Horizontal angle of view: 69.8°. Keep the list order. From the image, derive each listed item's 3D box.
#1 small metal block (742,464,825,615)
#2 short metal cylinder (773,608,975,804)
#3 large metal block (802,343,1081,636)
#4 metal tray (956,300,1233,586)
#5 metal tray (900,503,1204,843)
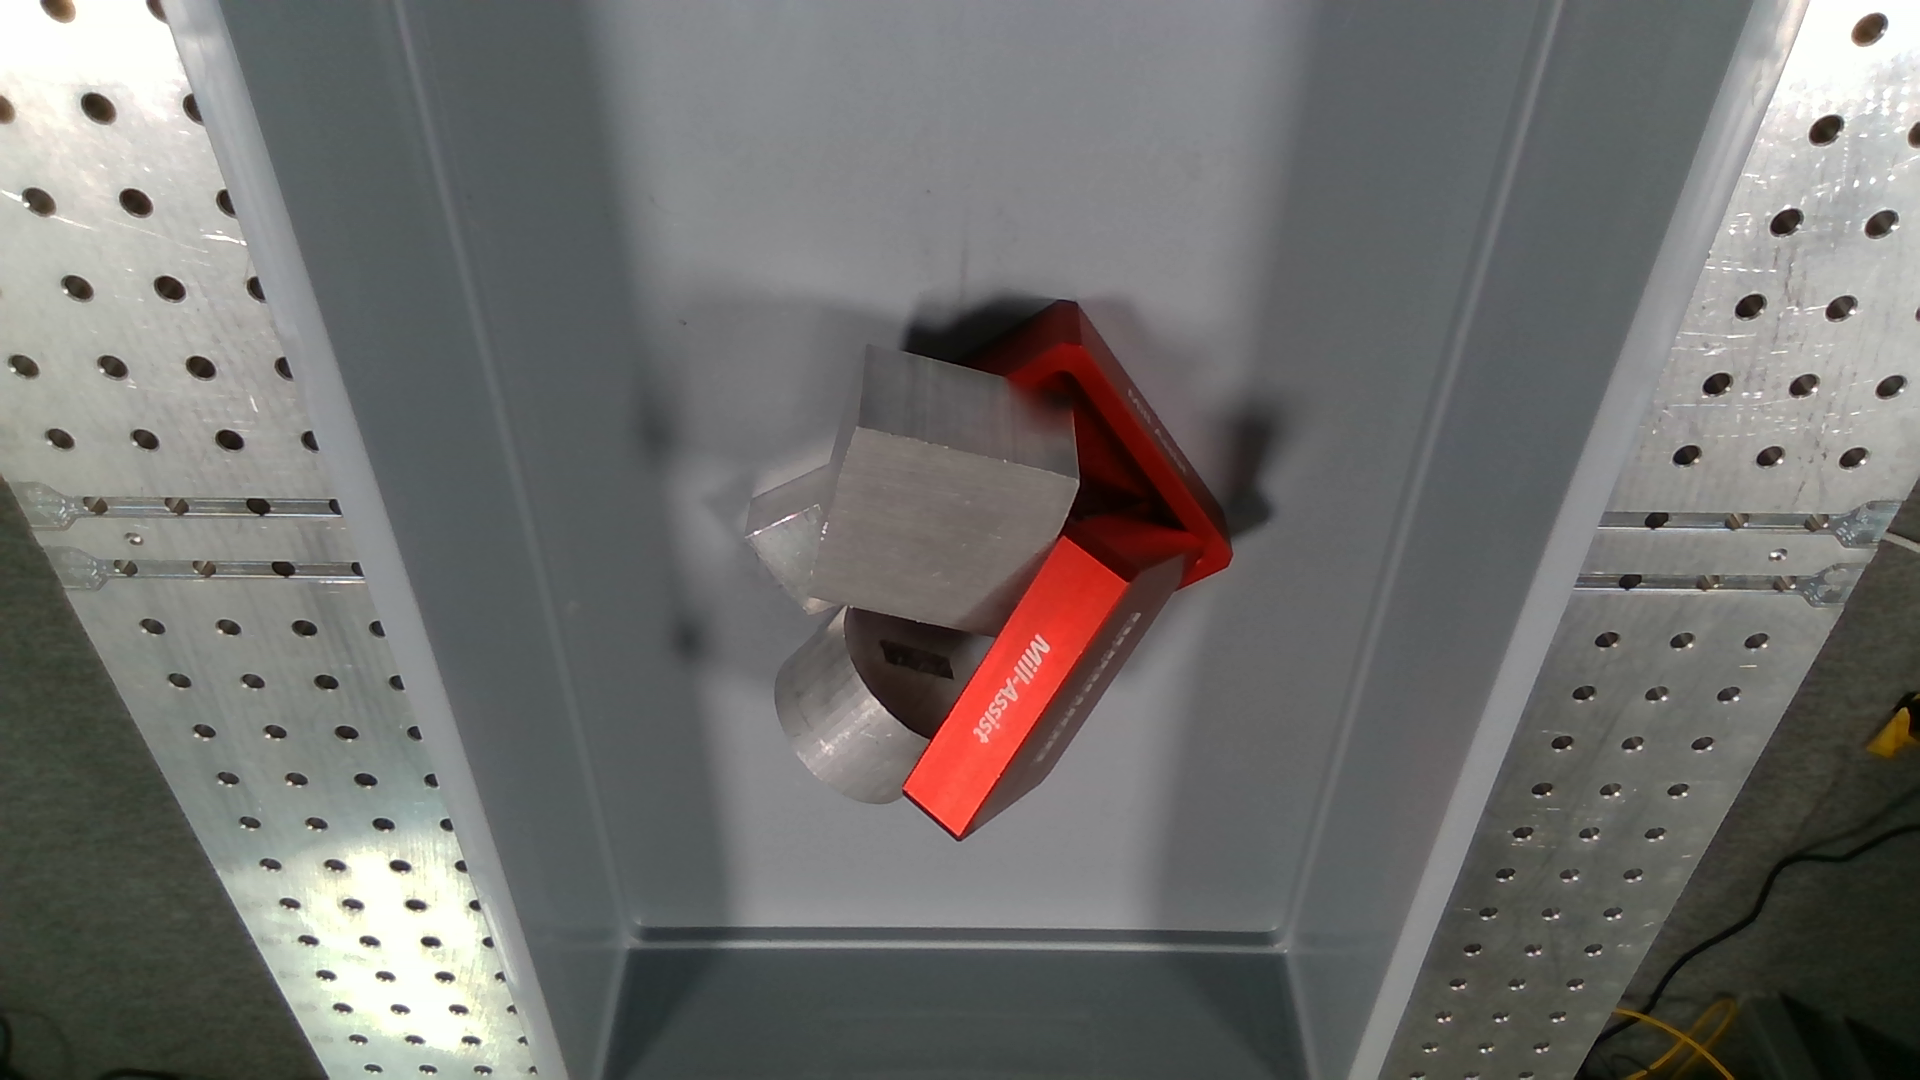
[{"bbox_3d":[-0.055,-0.002,0.576,0.050,0.025,0.050,-23,126,18],"label":"small metal block"},{"bbox_3d":[-0.034,0.067,0.599,0.080,0.080,0.050,32,123,-24],"label":"short metal cylinder"},{"bbox_3d":[-0.008,-0.016,0.506,0.080,0.050,0.080,13,129,-10],"label":"large metal block"},{"bbox_3d":[0.040,-0.022,0.555,0.090,0.030,0.130,-27,125,21],"label":"metal tray"},{"bbox_3d":[0.037,0.050,0.540,0.030,0.090,0.130,38,112,17],"label":"metal tray"}]
